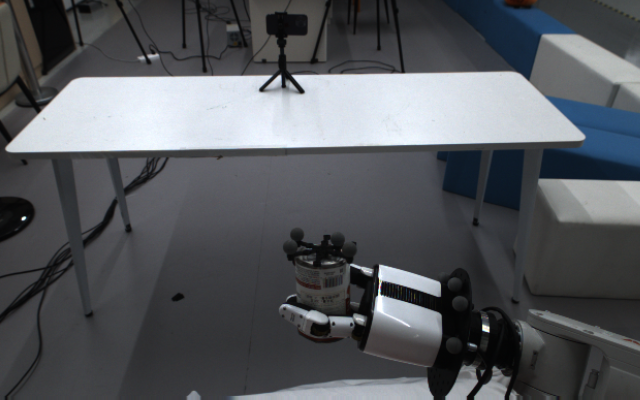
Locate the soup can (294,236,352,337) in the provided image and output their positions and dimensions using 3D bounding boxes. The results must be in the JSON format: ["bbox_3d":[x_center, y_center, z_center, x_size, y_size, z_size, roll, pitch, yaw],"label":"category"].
[{"bbox_3d":[0.006,0.113,0.590,0.067,0.101,0.067,-1,16,0],"label":"soup can"}]
